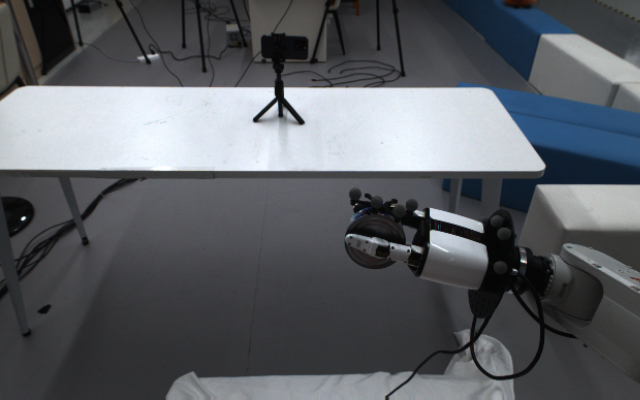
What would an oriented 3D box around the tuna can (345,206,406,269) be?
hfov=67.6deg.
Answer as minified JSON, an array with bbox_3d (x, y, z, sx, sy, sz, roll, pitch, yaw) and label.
[{"bbox_3d":[0.079,0.052,0.691,0.085,0.085,0.034,5,18,4],"label":"tuna can"}]
